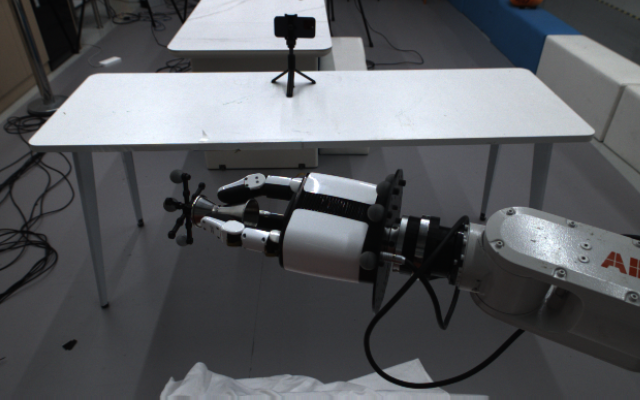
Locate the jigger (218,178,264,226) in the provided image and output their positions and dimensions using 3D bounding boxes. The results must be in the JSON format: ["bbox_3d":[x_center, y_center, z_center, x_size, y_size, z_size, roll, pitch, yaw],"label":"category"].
[{"bbox_3d":[-0.107,0.013,0.572,0.071,0.043,0.043,5,34,16],"label":"jigger"}]
